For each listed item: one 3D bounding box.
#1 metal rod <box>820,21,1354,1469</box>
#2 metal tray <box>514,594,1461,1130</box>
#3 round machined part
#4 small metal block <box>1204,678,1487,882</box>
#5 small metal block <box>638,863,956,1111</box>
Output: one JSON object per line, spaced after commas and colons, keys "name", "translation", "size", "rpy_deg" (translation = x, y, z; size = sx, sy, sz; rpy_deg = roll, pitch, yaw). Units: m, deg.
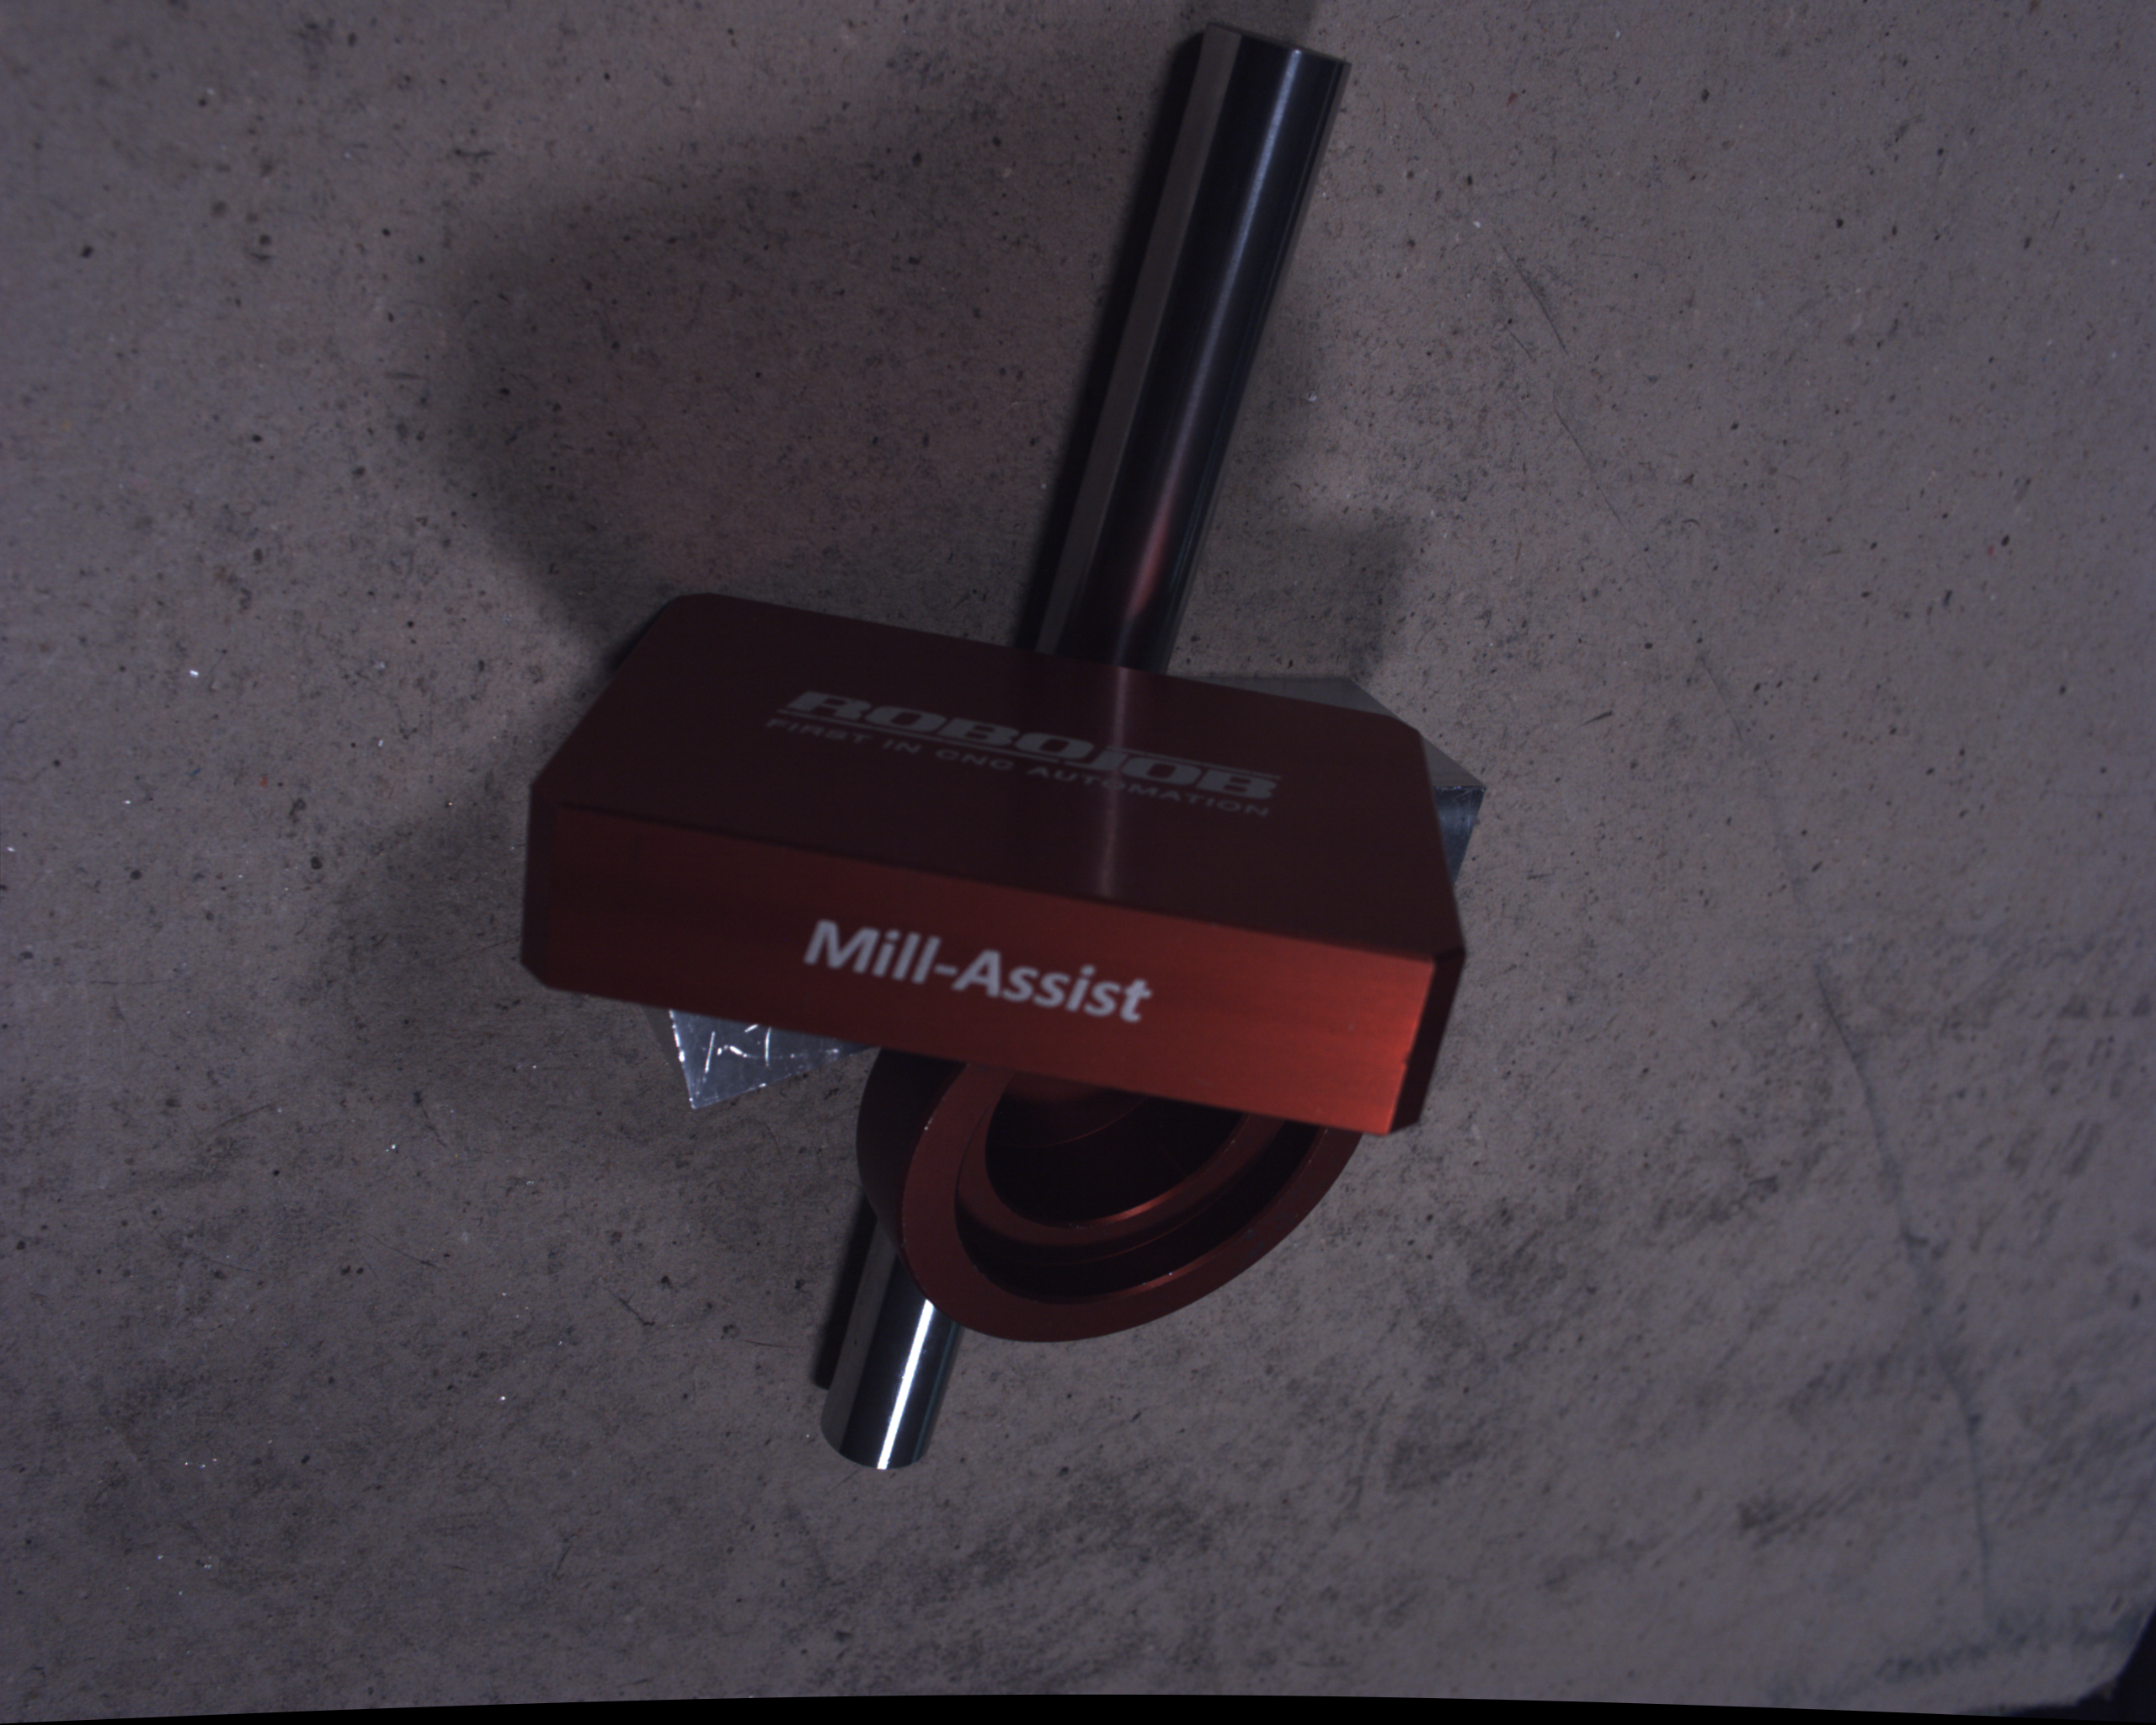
{"name": "metal rod", "translation": [-0.006, -0.005, 0.404], "size": [0.025, 0.025, 0.298], "rpy_deg": [2, 117, -30]}
{"name": "metal tray", "translation": [-0.011, -0.004, 0.329], "size": [0.131, 0.090, 0.030], "rpy_deg": [10, 115, -1]}
{"name": "round machined part", "translation": [0.005, 0.040, 0.390], "size": [0.099, 0.042, 0.097], "rpy_deg": [-16, 129, -21]}
{"name": "small metal block", "translation": [0.042, -0.014, 0.408], "size": [0.050, 0.050, 0.025], "rpy_deg": [-2, 119, -28]}
{"name": "small metal block", "translation": [-0.054, 0.012, 0.371], "size": [0.050, 0.050, 0.025], "rpy_deg": [-18, 126, -19]}
